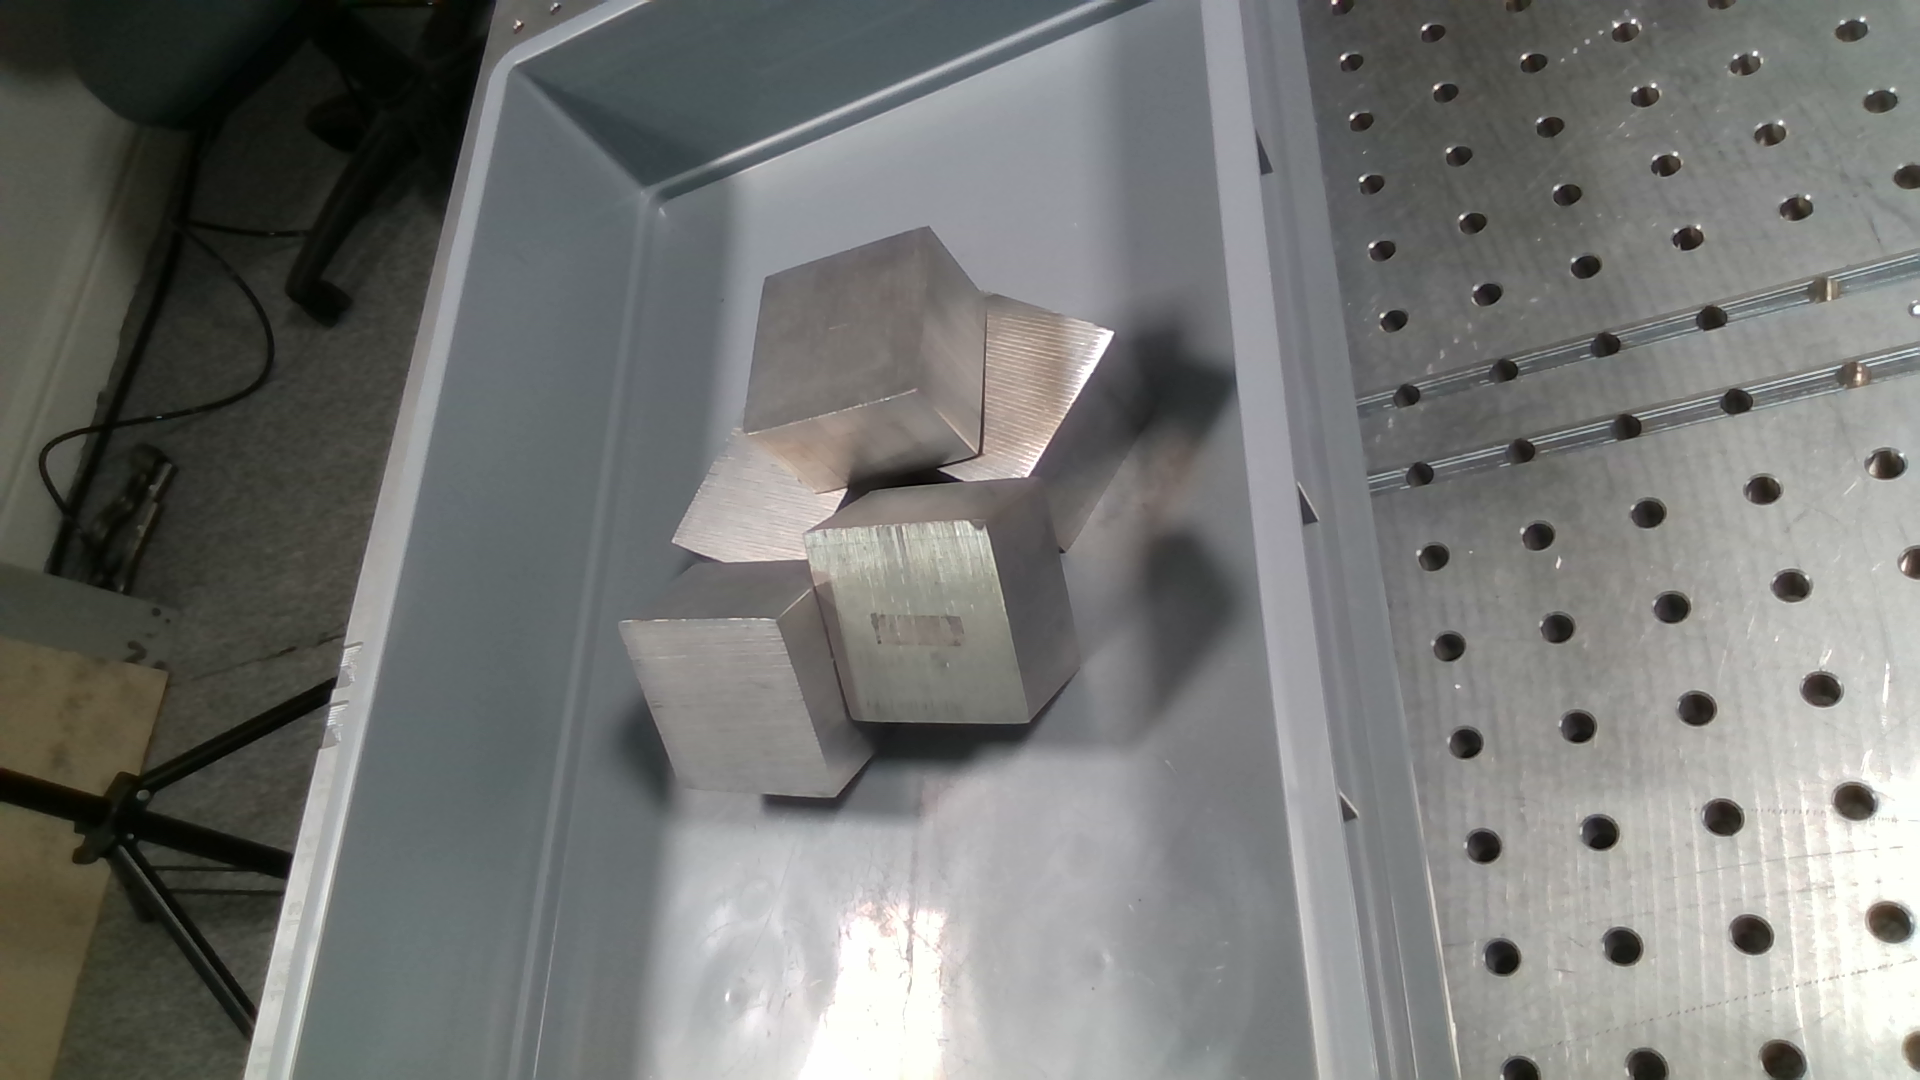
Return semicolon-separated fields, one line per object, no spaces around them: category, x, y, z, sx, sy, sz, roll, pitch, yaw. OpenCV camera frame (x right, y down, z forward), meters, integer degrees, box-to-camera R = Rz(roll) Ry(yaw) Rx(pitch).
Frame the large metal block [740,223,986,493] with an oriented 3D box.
large metal block;-0.038;-0.072;0.563;0.080;0.050;0.080;-11;59;25

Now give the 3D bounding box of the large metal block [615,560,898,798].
large metal block;-0.082;0.055;0.561;0.080;0.080;0.050;-2;25;30

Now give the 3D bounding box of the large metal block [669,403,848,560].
large metal block;-0.070;-0.015;0.615;0.080;0.050;0.080;18;76;37

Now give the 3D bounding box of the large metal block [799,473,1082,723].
large metal block;-0.006;0.023;0.532;0.080;0.050;0.080;-3;109;30

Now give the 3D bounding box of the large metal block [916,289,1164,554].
large metal block;0.025;-0.052;0.581;0.080;0.050;0.080;25;80;38
